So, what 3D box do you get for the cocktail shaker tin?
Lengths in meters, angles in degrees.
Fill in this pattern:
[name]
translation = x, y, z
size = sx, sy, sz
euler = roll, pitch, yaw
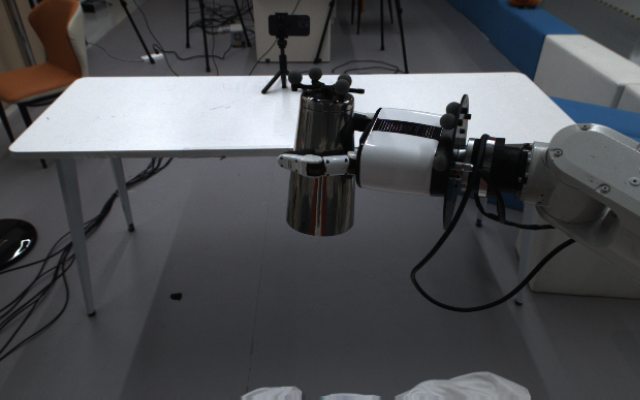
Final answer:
[cocktail shaker tin]
translation = 0.006, -0.050, 0.621
size = 0.093, 0.170, 0.093
euler = 2, 26, -1
